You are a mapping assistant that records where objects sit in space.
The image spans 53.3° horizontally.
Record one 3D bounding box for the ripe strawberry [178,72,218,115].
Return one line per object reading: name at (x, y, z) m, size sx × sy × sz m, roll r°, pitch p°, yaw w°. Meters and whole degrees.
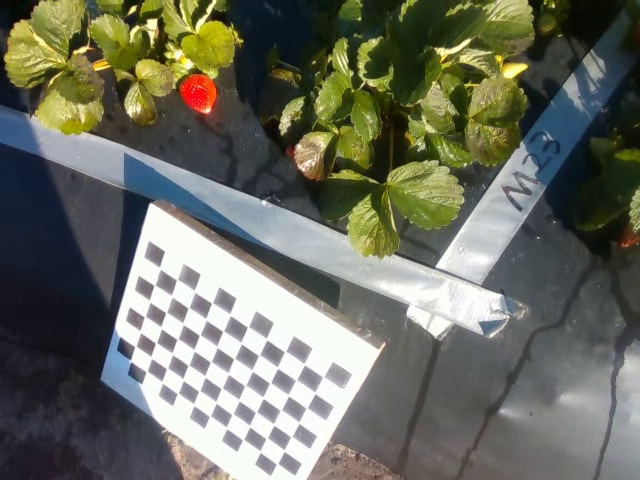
ripe strawberry at (-0.137, -0.164, 0.722) m, size 0.045 × 0.059 × 0.042 m, roll -34°, pitch -17°, yaw 31°
